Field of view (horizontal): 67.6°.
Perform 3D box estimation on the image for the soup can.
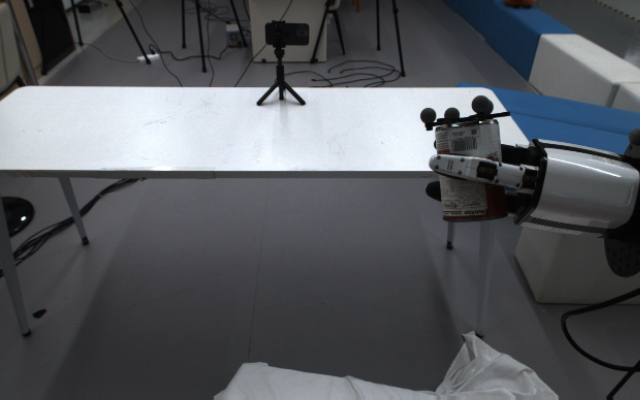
[{"bbox_3d":[0.165,-0.032,0.524,0.067,0.101,0.067,-7,3,0],"label":"soup can"}]
